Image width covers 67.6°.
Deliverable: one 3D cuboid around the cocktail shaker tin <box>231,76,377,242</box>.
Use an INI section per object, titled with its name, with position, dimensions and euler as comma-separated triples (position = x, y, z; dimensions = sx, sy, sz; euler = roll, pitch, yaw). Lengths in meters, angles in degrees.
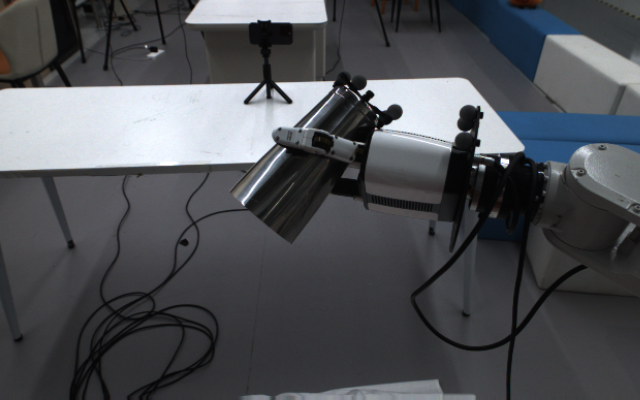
[cocktail shaker tin]
position = -0.011, -0.048, 0.551
dimensions = 0.170, 0.093, 0.093
euler = -48, 49, -4
